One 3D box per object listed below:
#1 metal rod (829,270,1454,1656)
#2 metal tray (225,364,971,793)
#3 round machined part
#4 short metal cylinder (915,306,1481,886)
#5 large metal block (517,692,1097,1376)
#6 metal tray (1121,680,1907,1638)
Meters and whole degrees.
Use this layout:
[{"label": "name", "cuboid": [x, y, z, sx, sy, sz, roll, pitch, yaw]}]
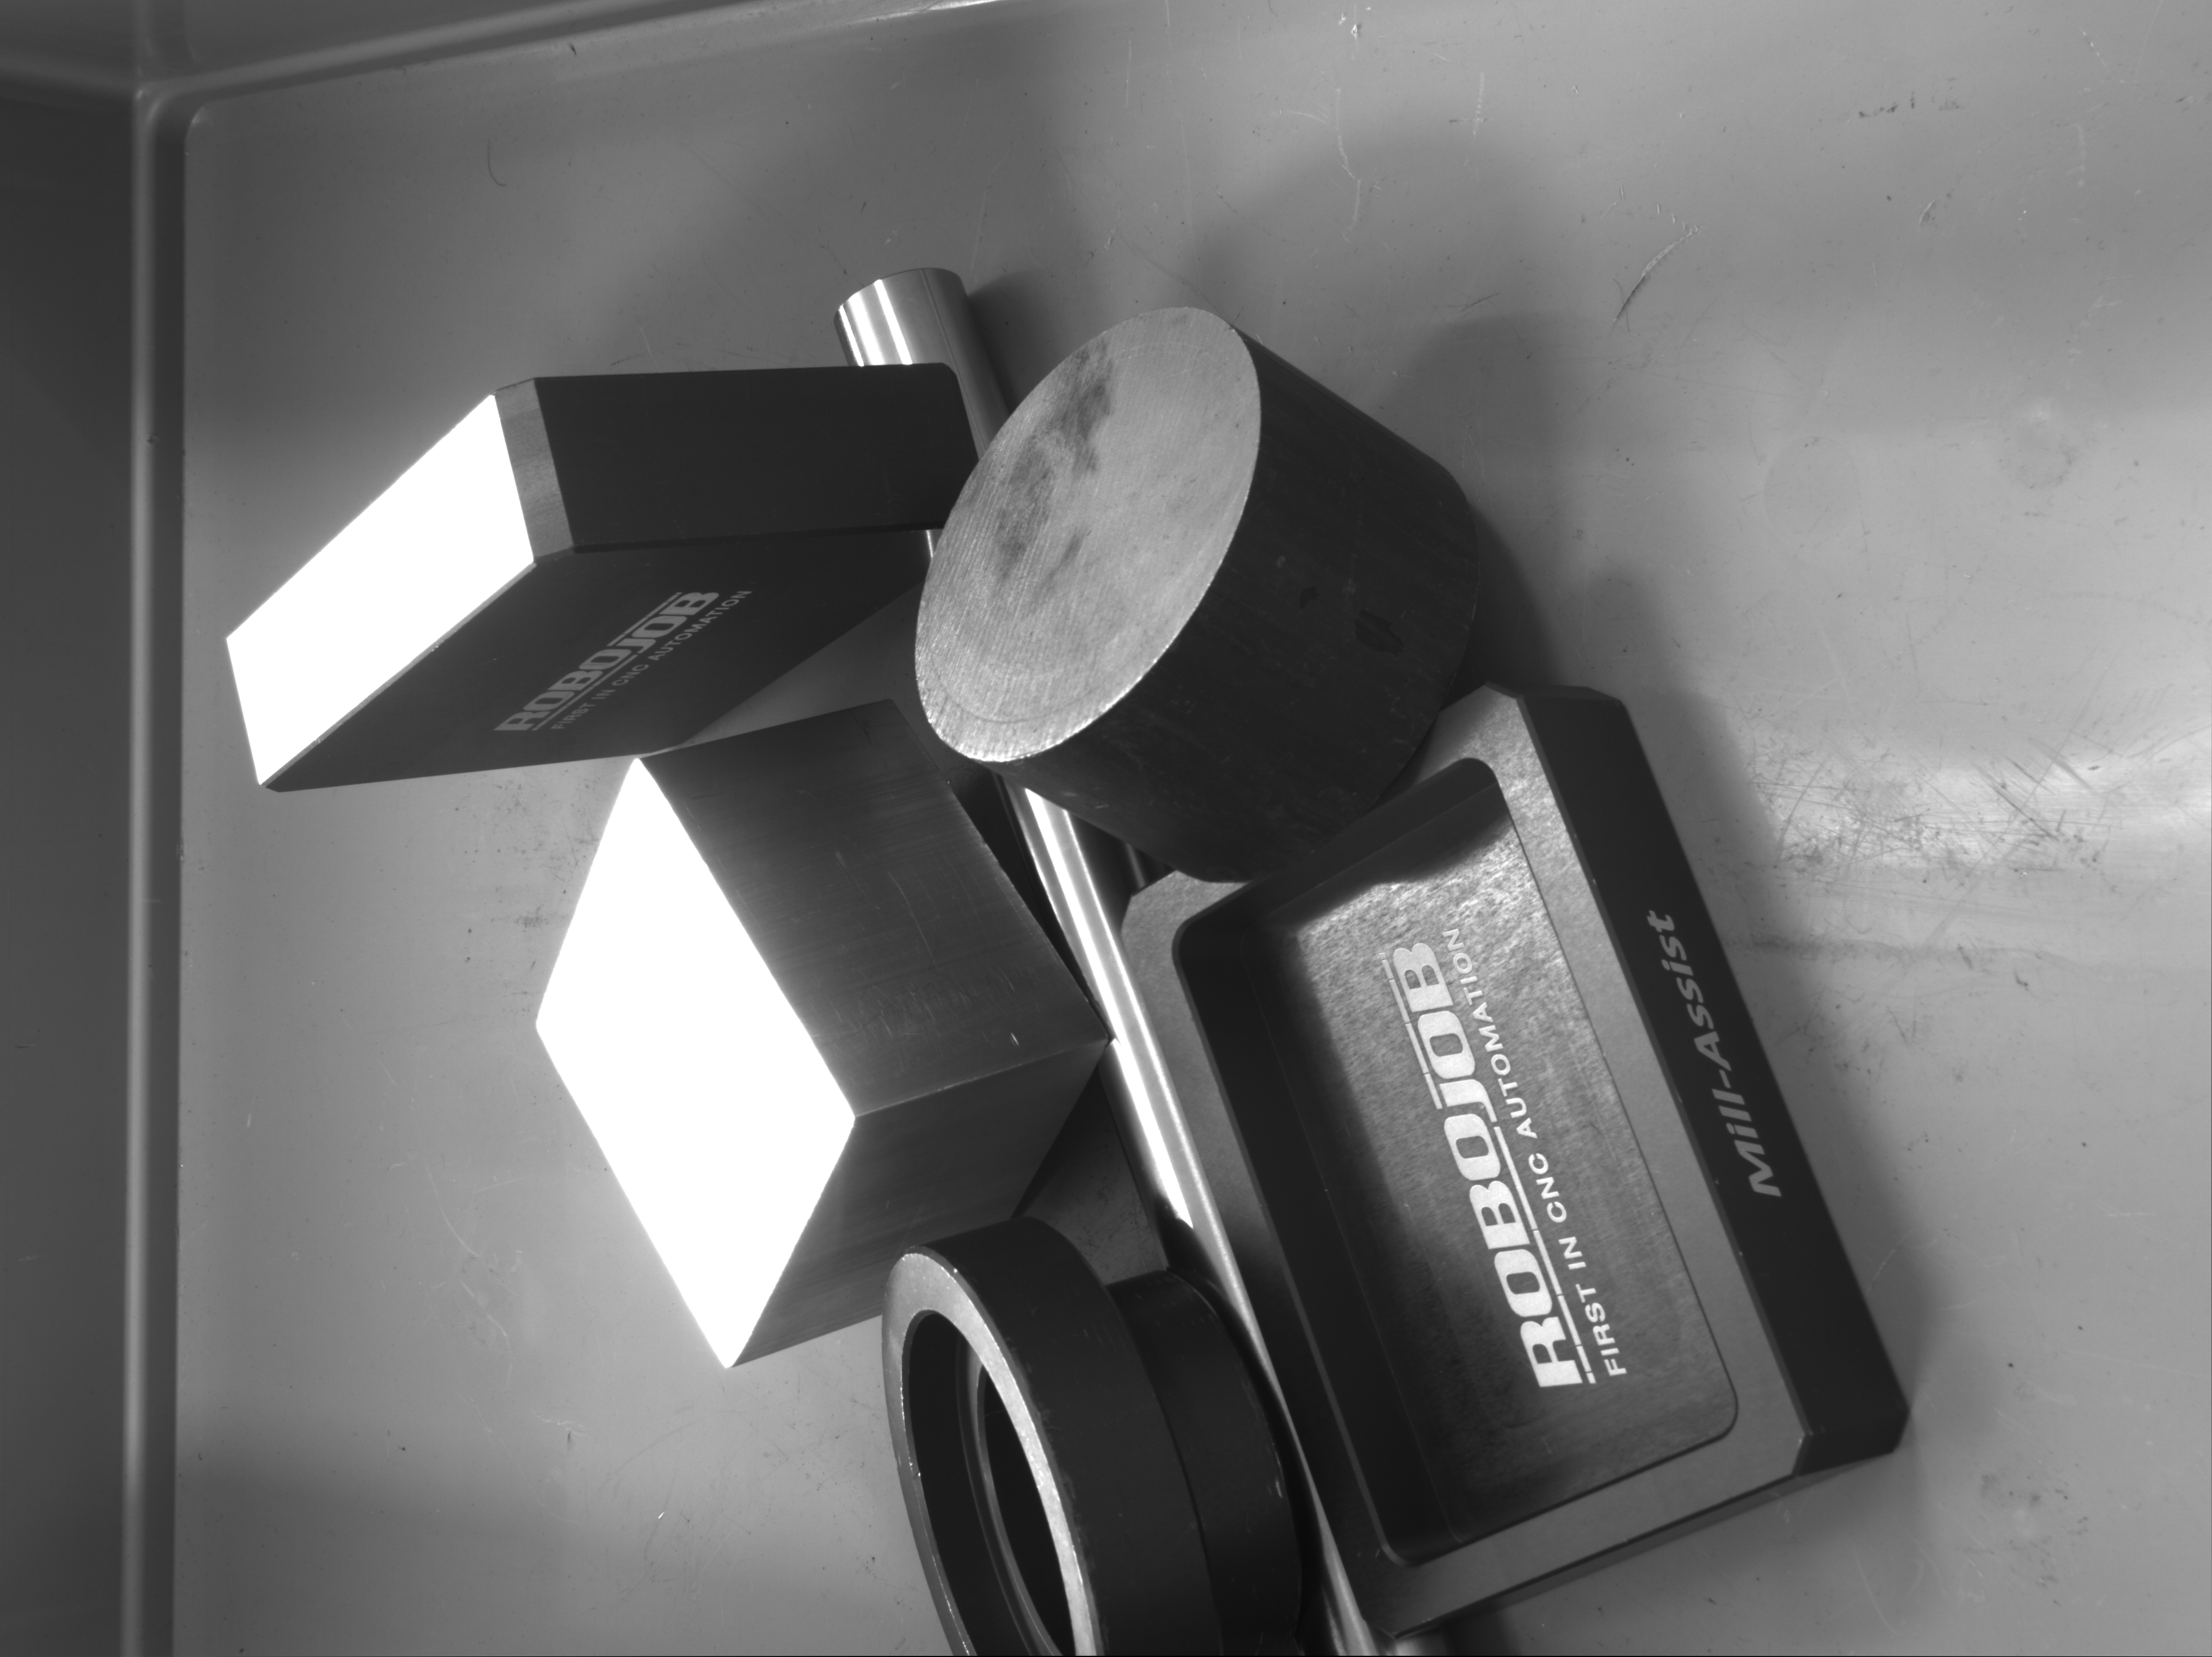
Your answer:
[{"label": "metal rod", "cuboid": [0.009, 0.039, 0.635, 0.025, 0.025, 0.300, -31, 70, 36]}, {"label": "metal tray", "cuboid": [-0.092, -0.044, 0.660, 0.130, 0.090, 0.030, -28, 73, 52]}, {"label": "round machined part", "cuboid": [-0.001, 0.112, 0.615, 0.098, 0.042, 0.098, 166, 90, -70]}, {"label": "short metal cylinder", "cuboid": [0.014, -0.037, 0.596, 0.080, 0.050, 0.080, -31, 44, 36]}, {"label": "large metal block", "cuboid": [-0.055, 0.036, 0.650, 0.080, 0.050, 0.080, 55, 140, 25]}, {"label": "metal tray", "cuboid": [0.062, 0.053, 0.588, 0.090, 0.030, 0.130, -31, 70, 36]}]
